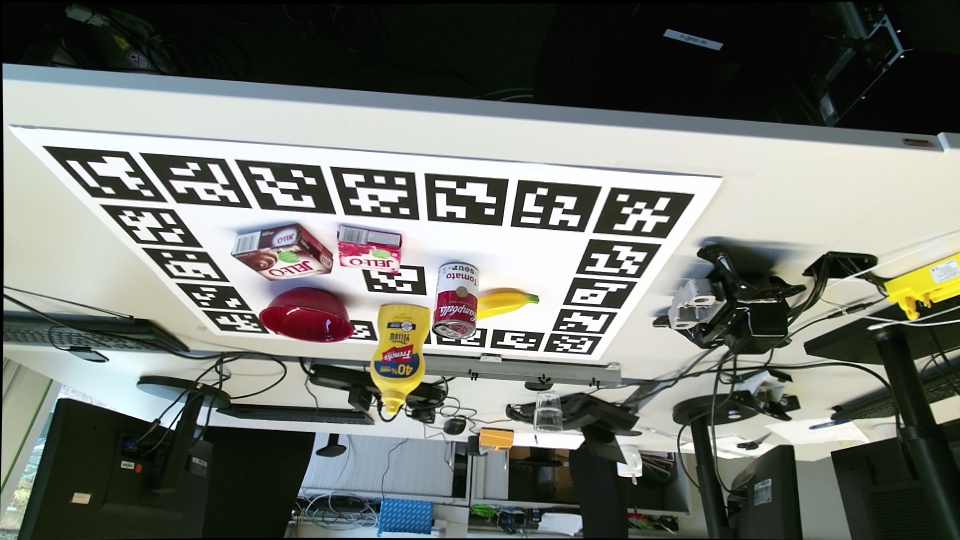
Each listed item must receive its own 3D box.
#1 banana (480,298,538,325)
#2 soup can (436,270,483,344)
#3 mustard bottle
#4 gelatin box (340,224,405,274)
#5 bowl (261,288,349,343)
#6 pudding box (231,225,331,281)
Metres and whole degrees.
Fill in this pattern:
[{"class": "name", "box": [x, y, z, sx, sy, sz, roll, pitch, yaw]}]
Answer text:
[{"class": "banana", "box": [0.005, 0.084, 0.950, 0.197, 0.038, 0.074, -24, 150, 38]}, {"class": "soup can", "box": [-0.031, 0.060, 0.831, 0.068, 0.101, 0.068, 4, 152, 2]}, {"class": "mustard bottle", "box": [-0.149, 0.169, 0.938, 0.096, 0.190, 0.058, 4, 153, -2]}, {"class": "gelatin box", "box": [-0.157, -0.028, 0.780, 0.090, 0.030, 0.073, 7, 147, -8]}, {"class": "bowl", "box": [-0.314, 0.077, 0.959, 0.162, 0.055, 0.162, 1, 151, 1]}, {"class": "pudding box", "box": [-0.295, -0.020, 0.798, 0.114, 0.038, 0.090, -8, 143, 19]}]
